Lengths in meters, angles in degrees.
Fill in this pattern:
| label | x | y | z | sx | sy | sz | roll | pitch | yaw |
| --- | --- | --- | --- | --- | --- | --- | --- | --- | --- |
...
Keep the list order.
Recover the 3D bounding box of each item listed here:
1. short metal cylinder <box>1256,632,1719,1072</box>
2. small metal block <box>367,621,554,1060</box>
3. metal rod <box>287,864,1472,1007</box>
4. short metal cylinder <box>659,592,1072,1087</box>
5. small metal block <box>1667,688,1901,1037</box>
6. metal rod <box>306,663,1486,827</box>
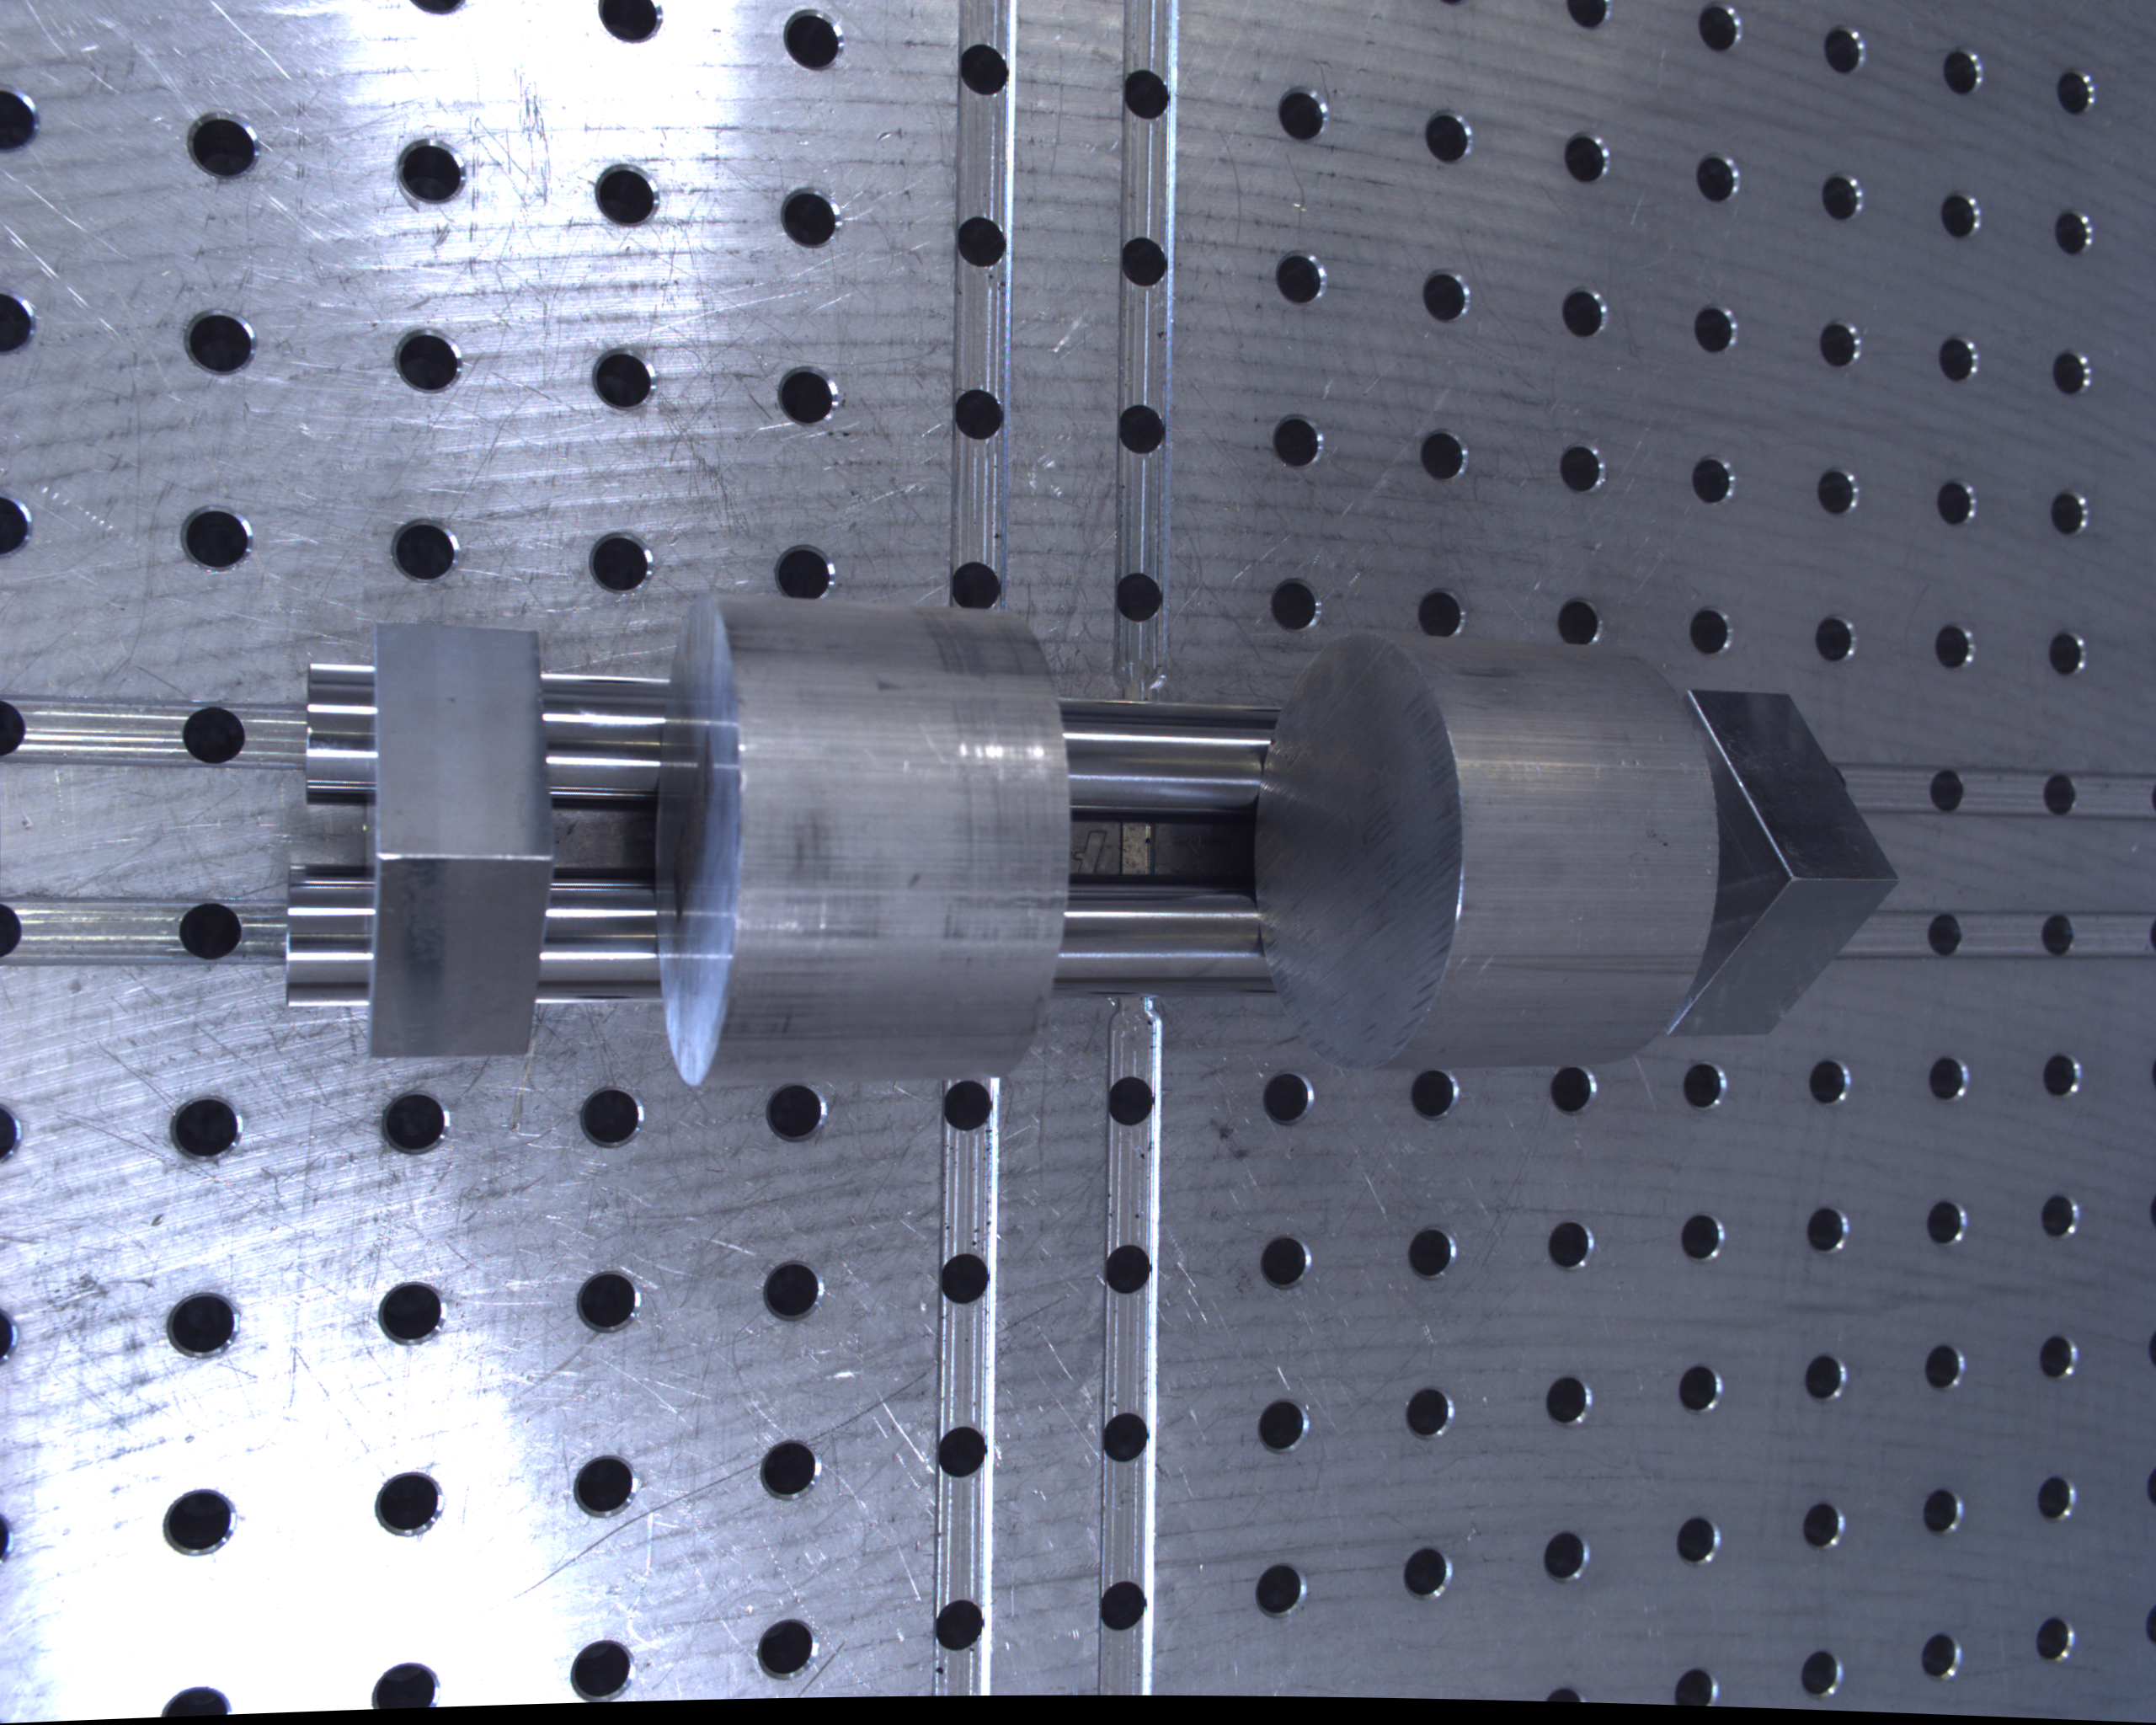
| label | x | y | z | sx | sy | sz | roll | pitch | yaw |
| --- | --- | --- | --- | --- | --- | --- | --- | --- | --- |
| short metal cylinder | 0.073 | -0.002 | 0.387 | 0.050 | 0.080 | 0.079 | 1 | 90 | -20 |
| small metal block | -0.101 | -0.003 | 0.338 | 0.025 | 0.050 | 0.050 | 1 | 48 | -20 |
| metal rod | 0.005 | 0.015 | 0.414 | 0.302 | 0.025 | 0.025 | 1 | 90 | -20 |
| short metal cylinder | -0.038 | -0.003 | 0.346 | 0.050 | 0.080 | 0.079 | 1 | 90 | -20 |
| small metal block | 0.132 | 0.000 | 0.424 | 0.025 | 0.050 | 0.050 | 1 | 49 | -20 |
| metal rod | 0.008 | -0.020 | 0.415 | 0.302 | 0.025 | 0.025 | 1 | 90 | -20 |
